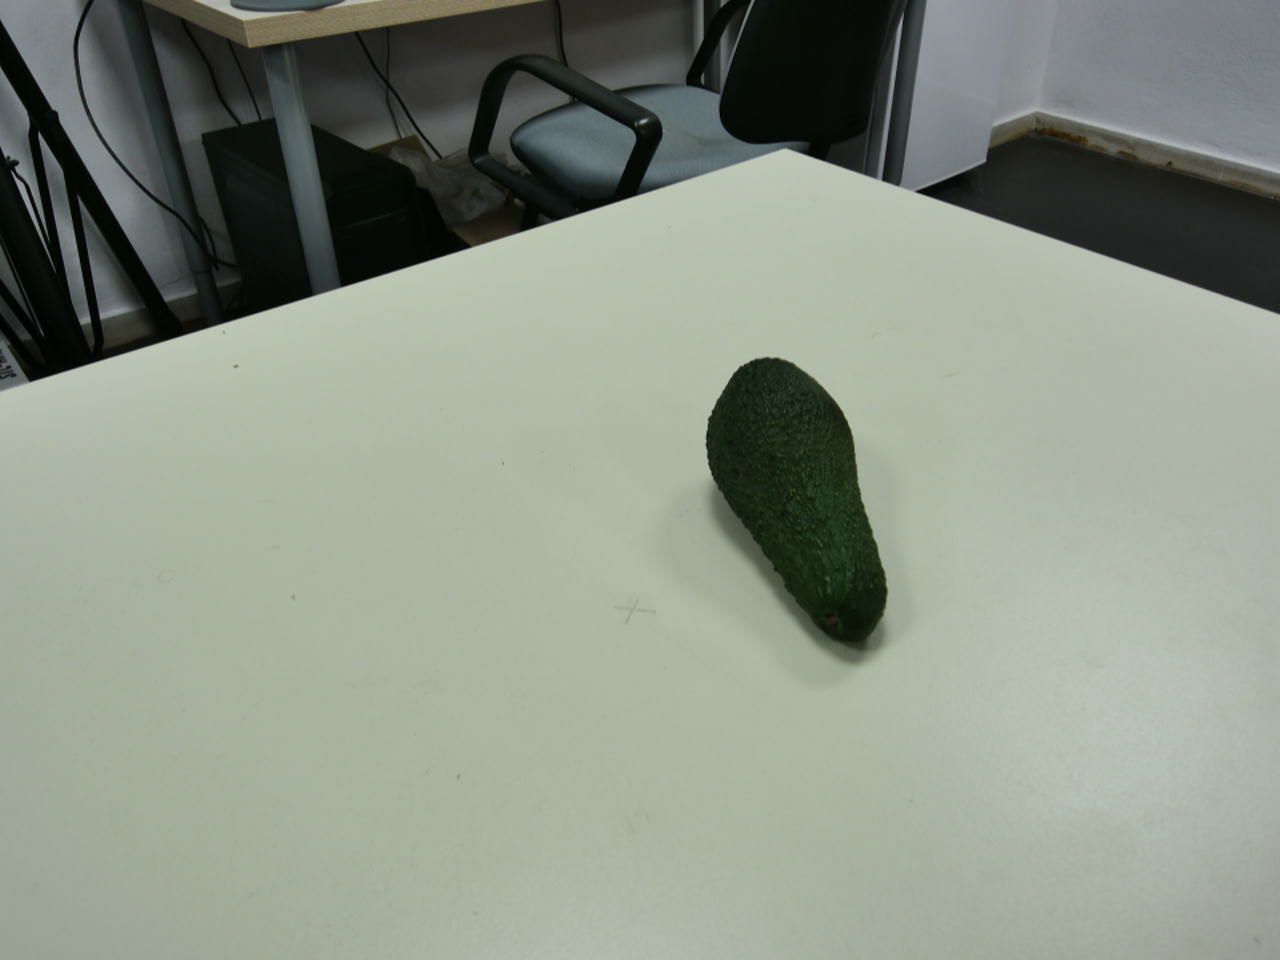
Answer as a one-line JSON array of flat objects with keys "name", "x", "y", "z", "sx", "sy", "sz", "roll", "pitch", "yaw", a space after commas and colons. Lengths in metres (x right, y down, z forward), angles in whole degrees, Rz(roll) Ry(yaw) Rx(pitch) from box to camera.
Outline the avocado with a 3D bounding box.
[{"name": "avocado", "x": 0.071, "y": -0.001, "z": 0.415, "sx": 0.063, "sy": 0.067, "sz": 0.141, "roll": -14, "pitch": 37, "yaw": -18}]
